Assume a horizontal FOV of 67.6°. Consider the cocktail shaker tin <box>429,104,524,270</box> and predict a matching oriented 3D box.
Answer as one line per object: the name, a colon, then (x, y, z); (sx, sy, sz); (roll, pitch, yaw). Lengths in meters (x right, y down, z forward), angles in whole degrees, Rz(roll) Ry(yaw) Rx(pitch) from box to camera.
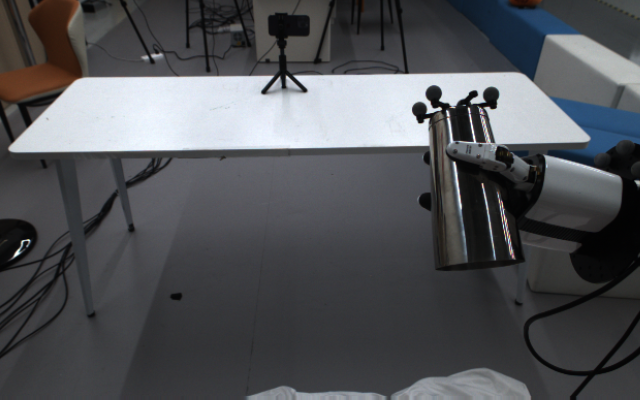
cocktail shaker tin: (0.164, -0.012, 0.533); (0.093, 0.093, 0.170); (-3, 76, -8)
